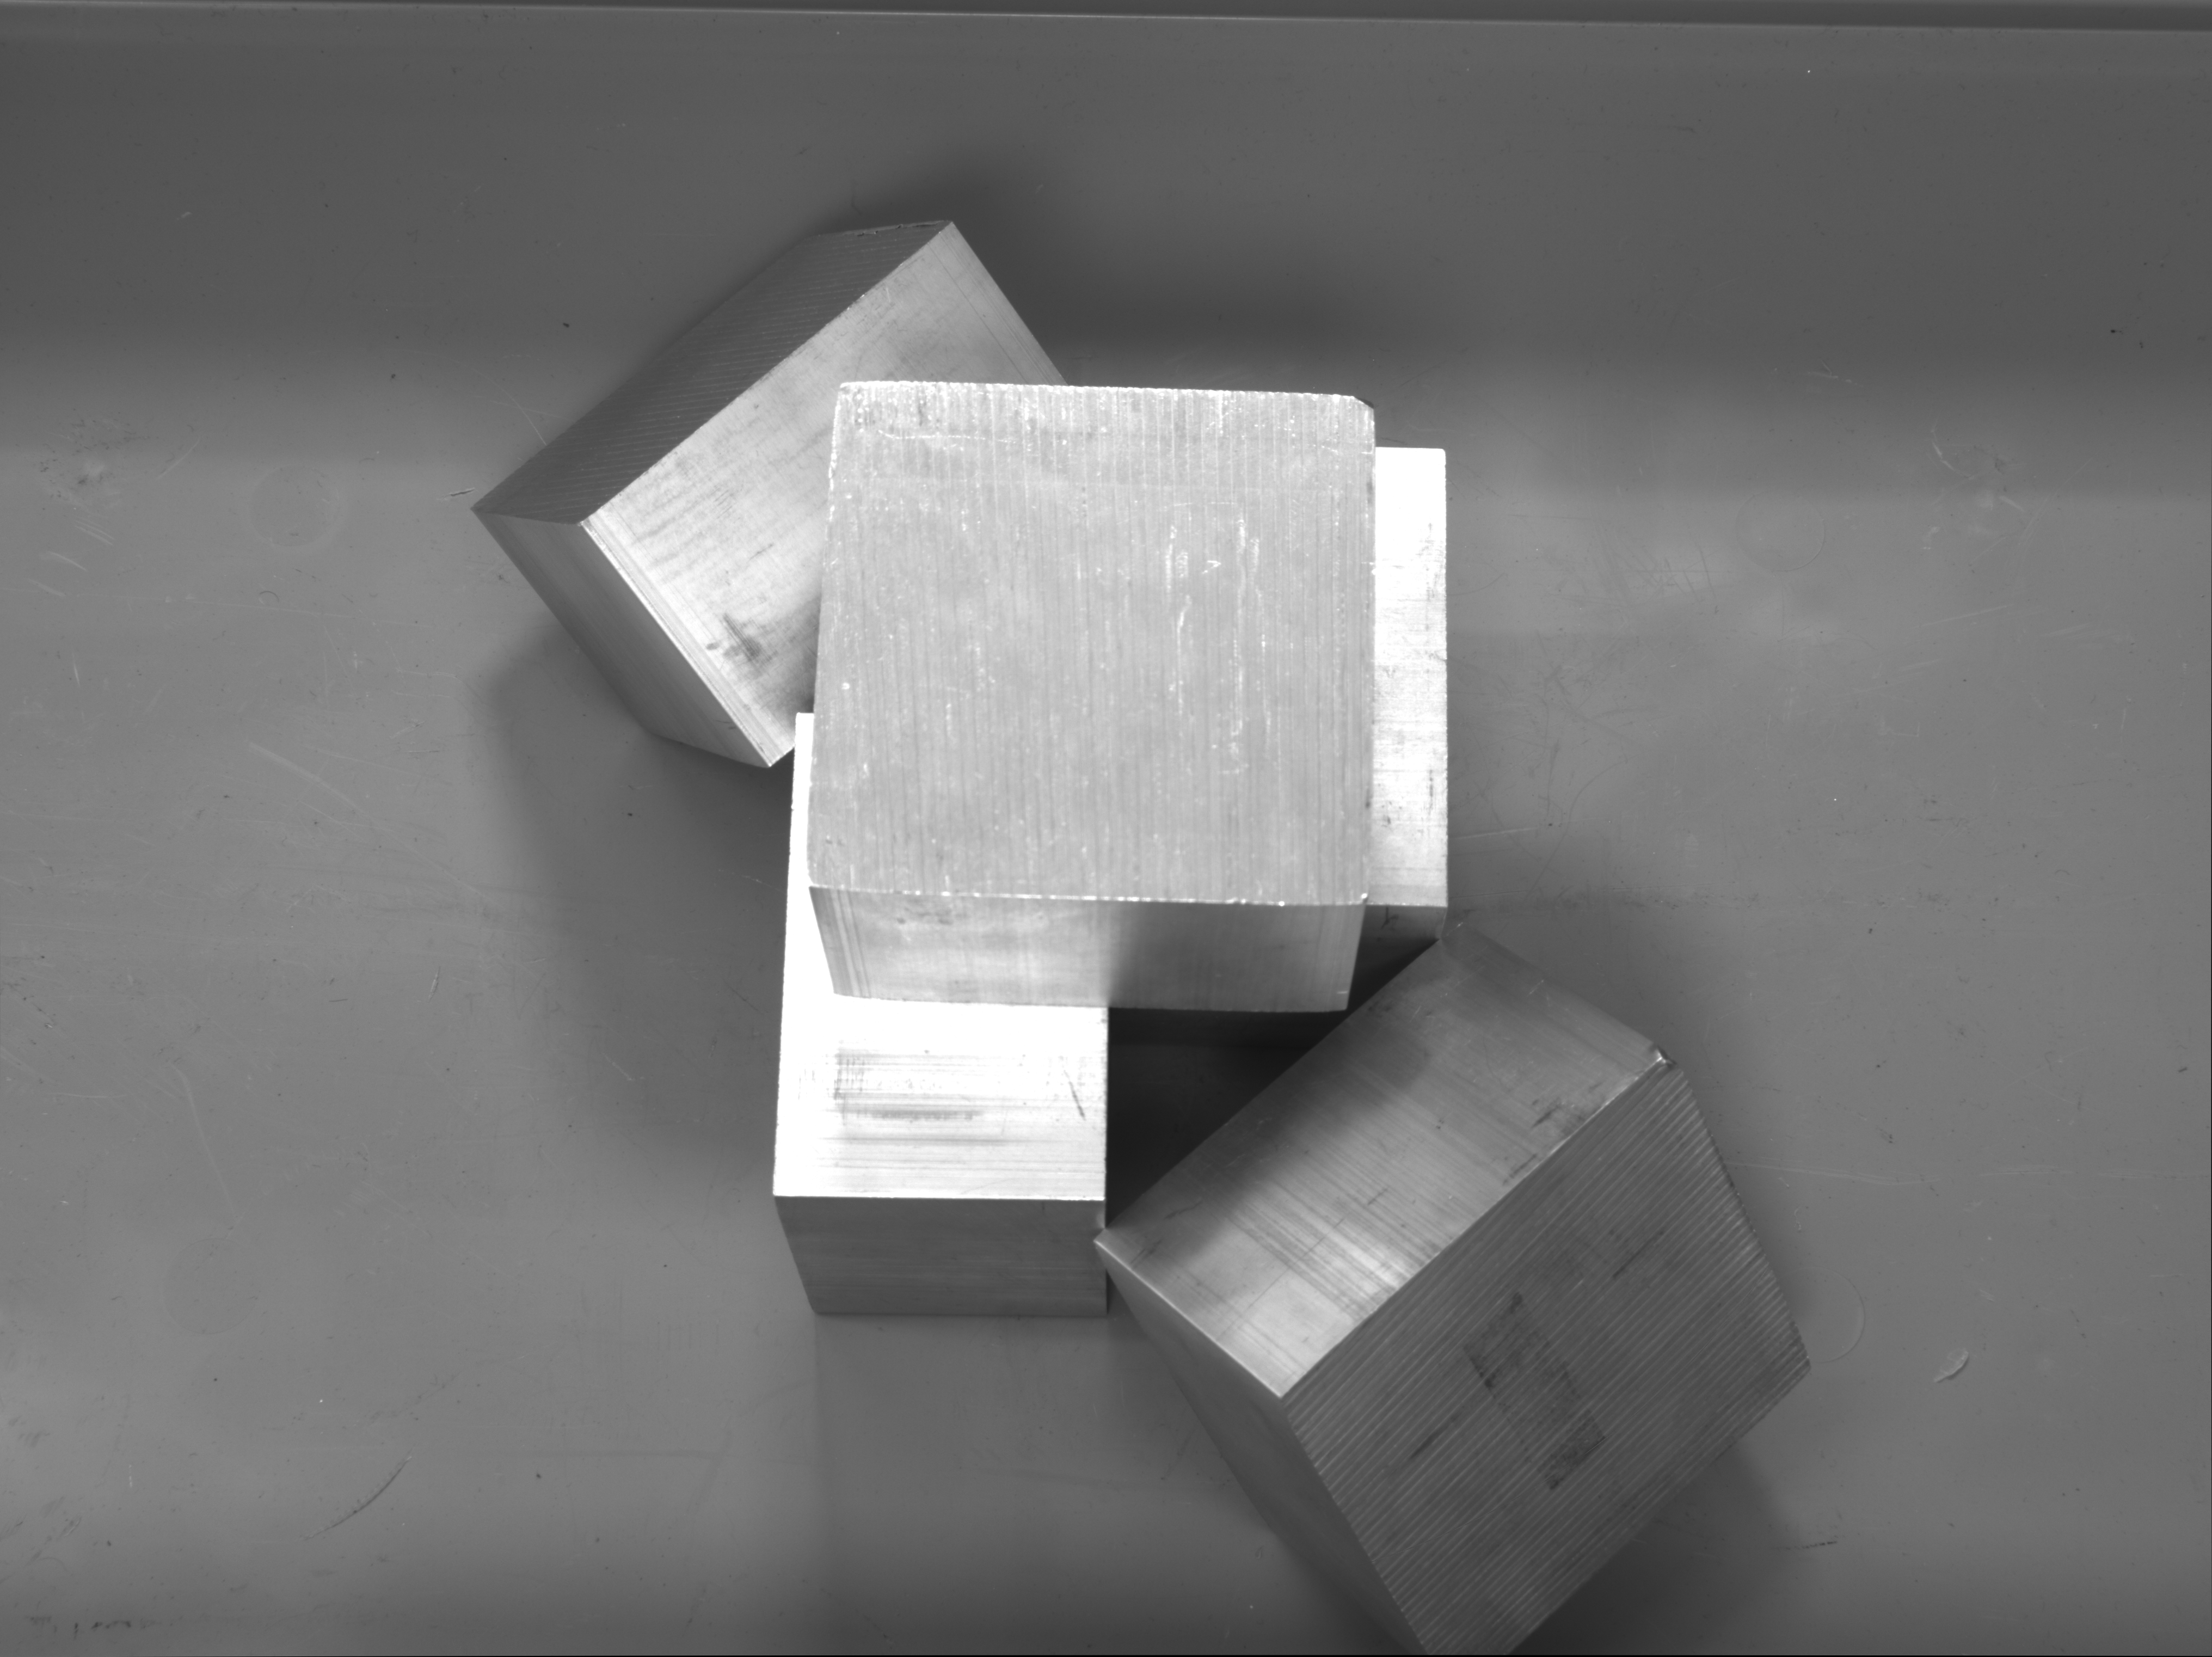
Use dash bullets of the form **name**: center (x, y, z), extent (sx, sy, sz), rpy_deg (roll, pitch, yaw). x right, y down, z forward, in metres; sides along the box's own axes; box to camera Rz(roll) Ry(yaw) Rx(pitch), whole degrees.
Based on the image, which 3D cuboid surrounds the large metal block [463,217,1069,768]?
- **large metal block**: center (-0.054, -0.059, 0.628), extent (0.080, 0.080, 0.050), rpy_deg (-41, 110, -14)

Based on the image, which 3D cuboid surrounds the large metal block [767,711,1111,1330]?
- **large metal block**: center (-0.025, 0.034, 0.602), extent (0.050, 0.080, 0.080), rpy_deg (1, 69, 0)

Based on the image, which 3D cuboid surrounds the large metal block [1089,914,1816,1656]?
- **large metal block**: center (0.056, 0.075, 0.579), extent (0.080, 0.080, 0.050), rpy_deg (-39, 39, -13)

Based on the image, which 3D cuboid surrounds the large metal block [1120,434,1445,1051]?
- **large metal block**: center (0.028, -0.013, 0.618), extent (0.050, 0.080, 0.080), rpy_deg (1, 69, 0)

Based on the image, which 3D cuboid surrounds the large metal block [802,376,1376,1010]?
- **large metal block**: center (-0.001, -0.020, 0.552), extent (0.080, 0.050, 0.080), rpy_deg (2, 70, 1)
